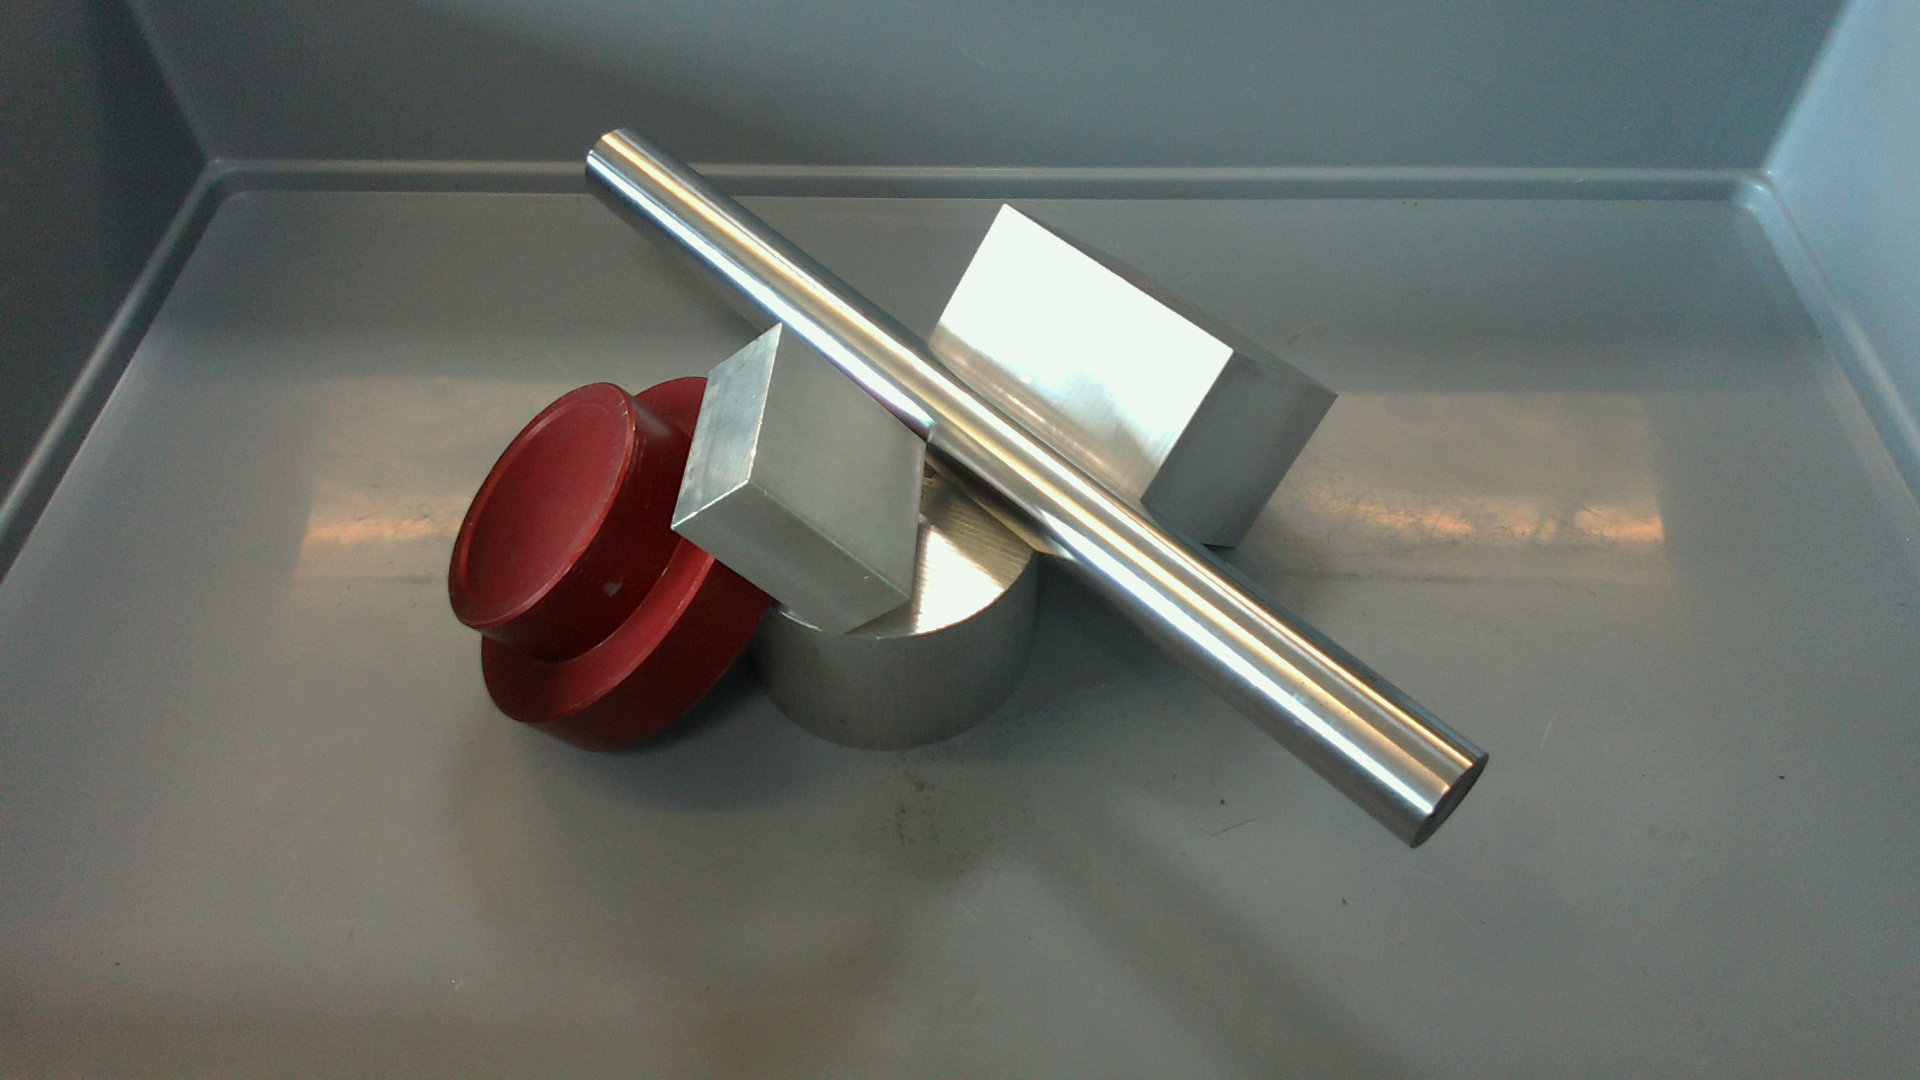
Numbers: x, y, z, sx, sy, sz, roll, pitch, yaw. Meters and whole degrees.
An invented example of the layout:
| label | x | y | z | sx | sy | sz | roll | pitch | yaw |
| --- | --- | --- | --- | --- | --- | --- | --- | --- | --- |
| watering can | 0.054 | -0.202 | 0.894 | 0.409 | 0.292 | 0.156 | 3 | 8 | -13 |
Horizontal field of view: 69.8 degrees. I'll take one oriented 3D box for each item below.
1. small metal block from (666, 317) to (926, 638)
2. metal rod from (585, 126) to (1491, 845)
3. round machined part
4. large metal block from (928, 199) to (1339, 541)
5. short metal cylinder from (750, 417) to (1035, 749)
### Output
| label | x | y | z | sx | sy | sz | roll | pitch | yaw |
| --- | --- | --- | --- | --- | --- | --- | --- | --- | --- |
| small metal block | -0.036 | -0.014 | 0.317 | 0.025 | 0.050 | 0.050 | -27 | 41 | 32 |
| metal rod | -0.002 | -0.031 | 0.351 | 0.025 | 0.025 | 0.299 | -36 | 58 | -26 |
| round machined part | -0.090 | -0.001 | 0.346 | 0.098 | 0.042 | 0.098 | -25 | 47 | 30 |
| large metal block | 0.047 | -0.045 | 0.383 | 0.080 | 0.050 | 0.080 | 39 | 17 | 28 |
| short metal cylinder | -0.019 | 0.008 | 0.366 | 0.080 | 0.050 | 0.080 | 0 | 50 | 0 |
